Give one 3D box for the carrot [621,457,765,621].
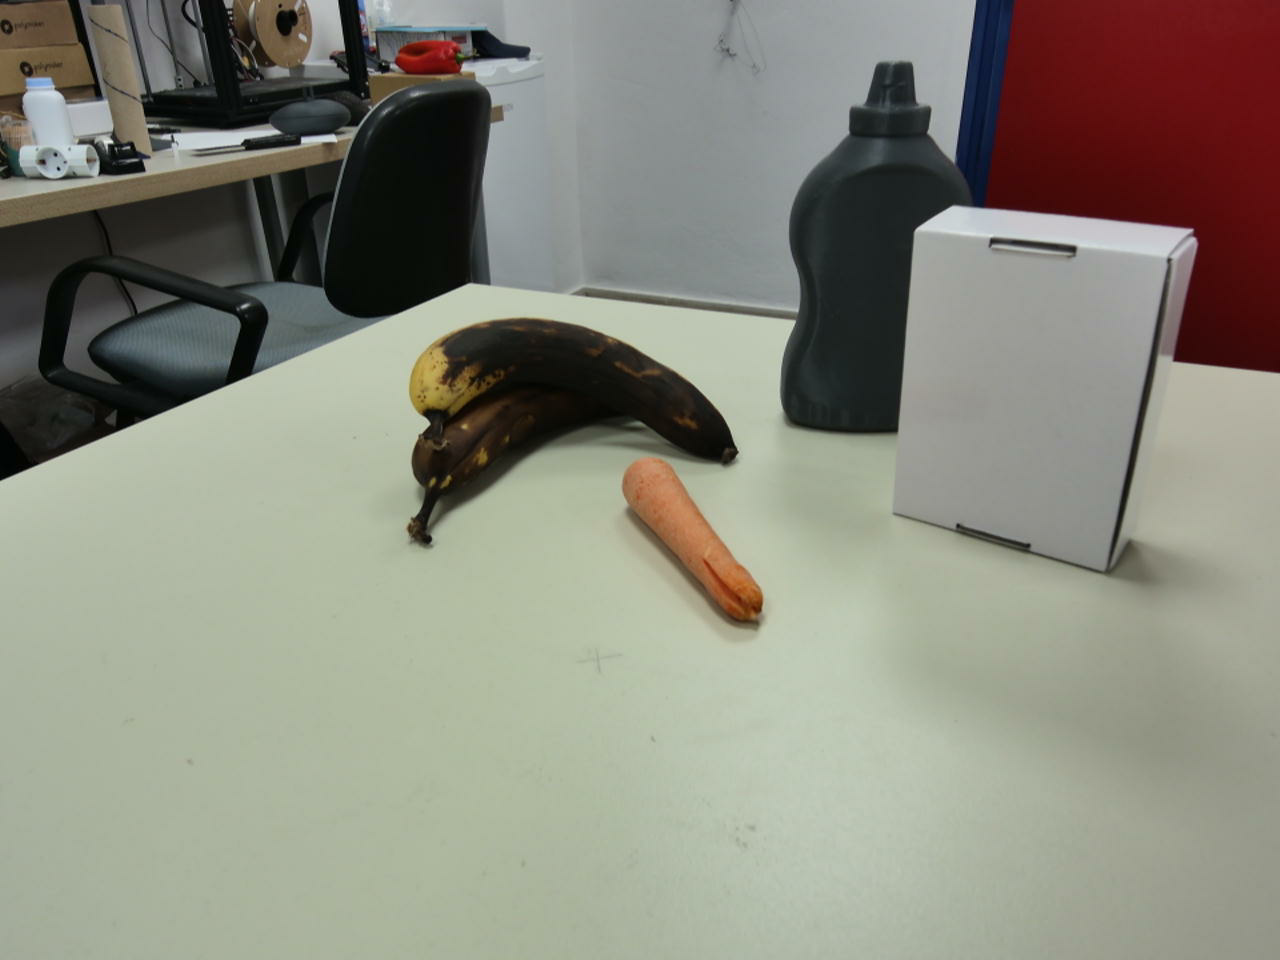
[{"bbox_3d":[0.022,0.023,0.471,0.030,0.032,0.136,-8,25,-18],"label":"carrot"}]
